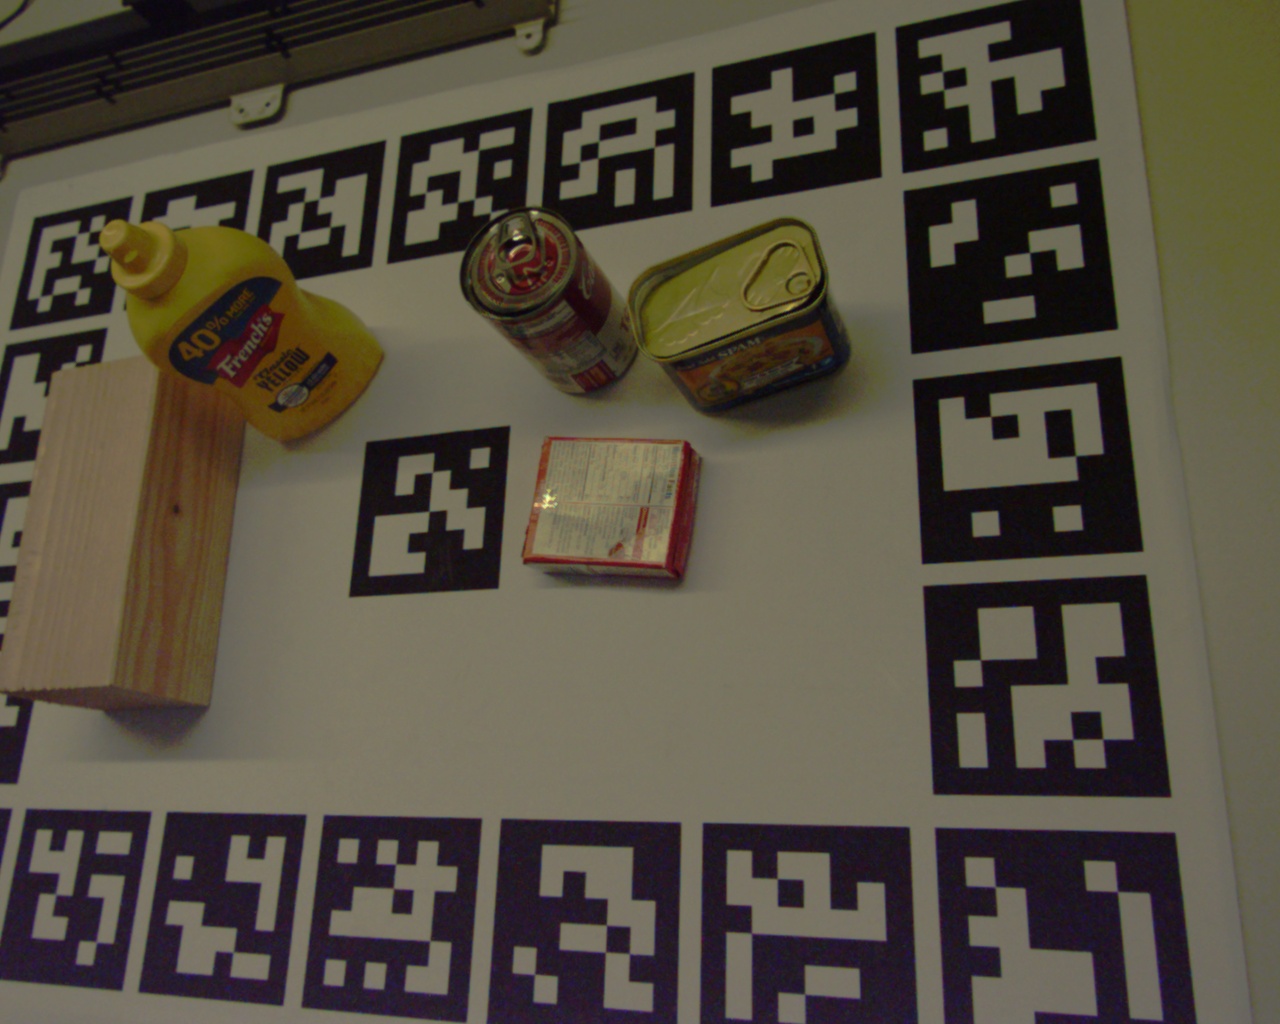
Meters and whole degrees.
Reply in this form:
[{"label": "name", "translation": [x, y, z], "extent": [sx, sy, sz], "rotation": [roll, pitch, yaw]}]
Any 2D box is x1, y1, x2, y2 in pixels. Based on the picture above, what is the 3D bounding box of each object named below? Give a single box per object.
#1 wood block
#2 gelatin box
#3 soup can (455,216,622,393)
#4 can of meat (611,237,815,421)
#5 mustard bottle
[{"label": "wood block", "translation": [-0.327, 0.018, 0.745], "extent": [0.092, 0.089, 0.206], "rotation": [-4, 68, 18]}, {"label": "gelatin box", "translation": [-0.023, 0.004, 0.658], "extent": [0.090, 0.030, 0.073], "rotation": [5, 77, 25]}, {"label": "soup can", "translation": [-0.054, -0.117, 0.665], "extent": [0.068, 0.101, 0.068], "rotation": [-6, 73, 20]}, {"label": "can of meat", "translation": [0.044, -0.098, 0.641], "extent": [0.102, 0.083, 0.058], "rotation": [-18, 68, 12]}, {"label": "mustard bottle", "translation": [-0.248, -0.104, 0.702], "extent": [0.096, 0.189, 0.059], "rotation": [-29, 65, 8]}]
